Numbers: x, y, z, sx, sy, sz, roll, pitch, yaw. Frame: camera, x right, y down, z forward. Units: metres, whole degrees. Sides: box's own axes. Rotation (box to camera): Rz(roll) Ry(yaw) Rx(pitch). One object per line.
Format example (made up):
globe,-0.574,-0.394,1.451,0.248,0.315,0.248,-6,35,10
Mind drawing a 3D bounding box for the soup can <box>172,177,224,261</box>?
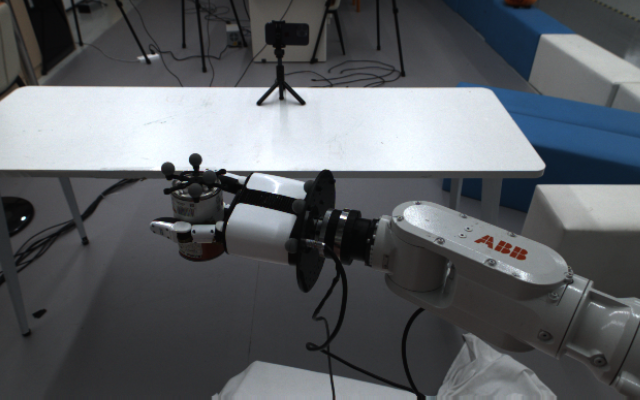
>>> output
soup can,-0.161,0.025,0.654,0.067,0.101,0.067,2,32,-1
